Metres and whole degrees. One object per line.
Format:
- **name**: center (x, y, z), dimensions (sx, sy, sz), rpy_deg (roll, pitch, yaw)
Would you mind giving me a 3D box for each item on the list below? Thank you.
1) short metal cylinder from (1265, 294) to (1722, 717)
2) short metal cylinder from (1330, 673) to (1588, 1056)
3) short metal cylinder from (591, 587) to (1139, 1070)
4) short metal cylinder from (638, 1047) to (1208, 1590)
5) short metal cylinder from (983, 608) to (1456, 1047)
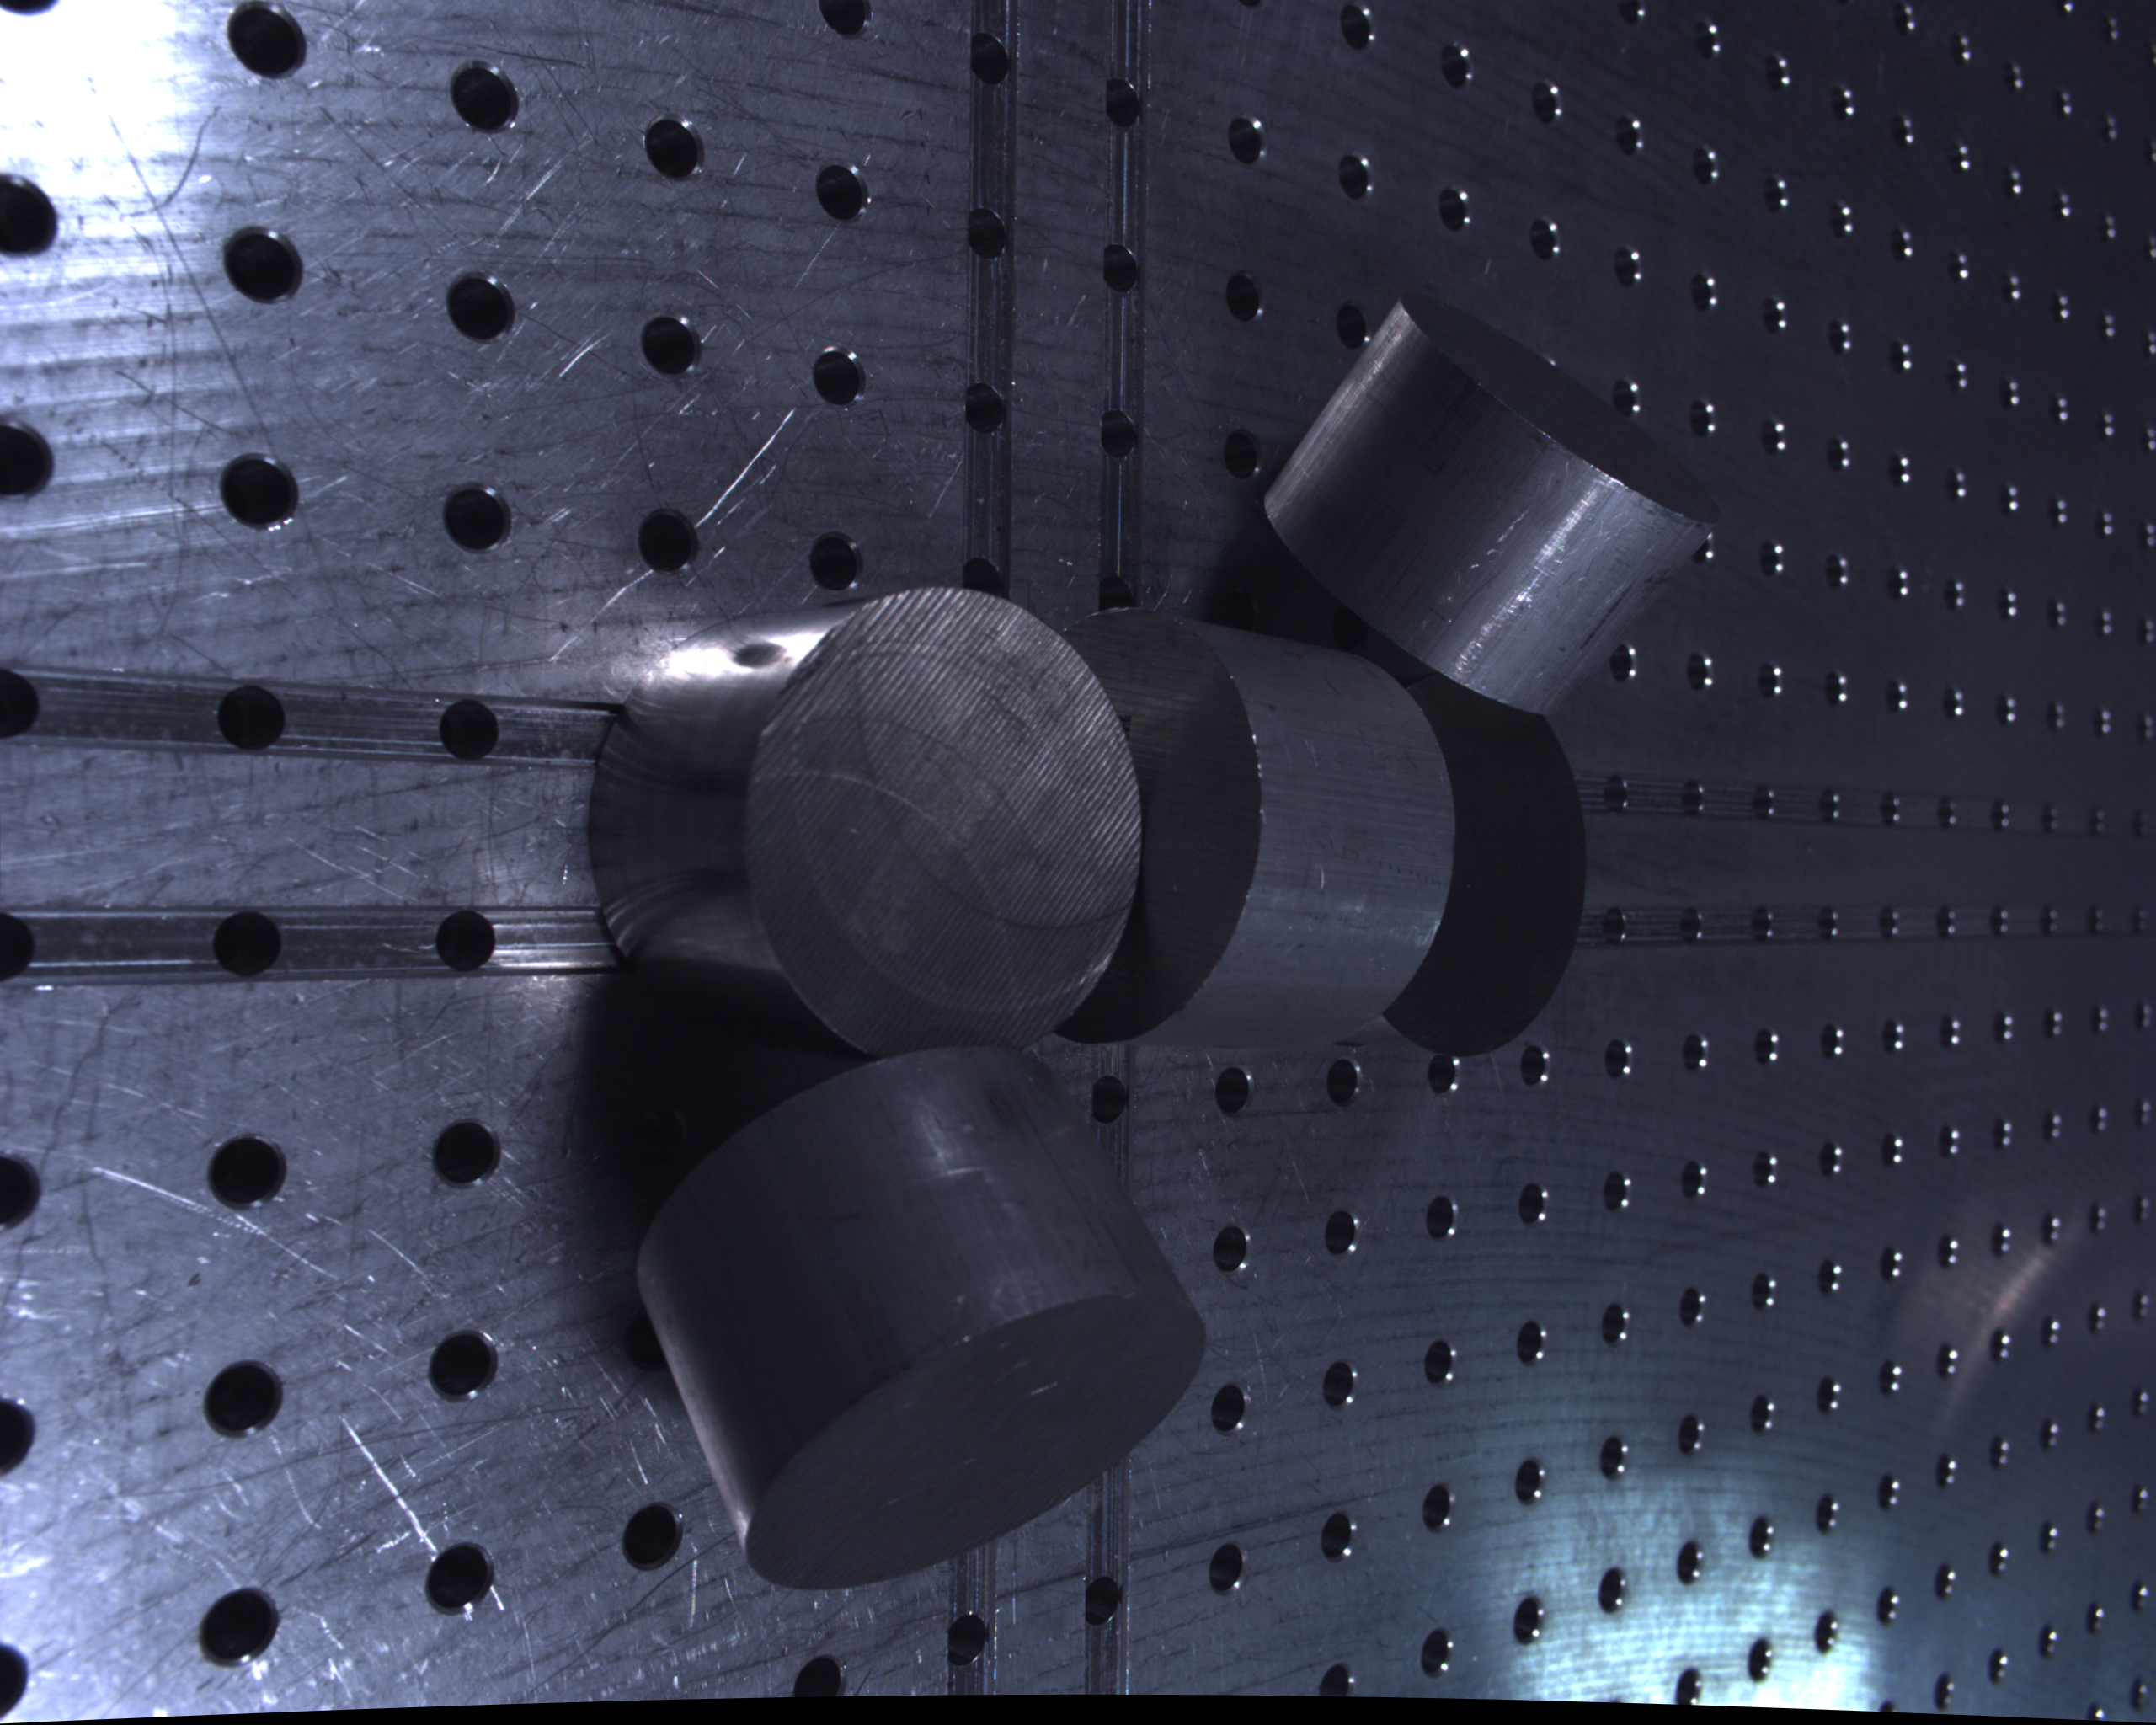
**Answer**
- **short metal cylinder**: center (0.087, -0.075, 0.440), dimensions (0.081, 0.080, 0.050), rpy_deg (11, 125, -40)
- **short metal cylinder**: center (0.064, 0.000, 0.448), dimensions (0.081, 0.050, 0.079), rpy_deg (0, 90, -40)
- **short metal cylinder**: center (-0.036, -0.006, 0.363), dimensions (0.081, 0.050, 0.079), rpy_deg (0, 90, -40)
- **short metal cylinder**: center (-0.026, 0.076, 0.346), dimensions (0.081, 0.050, 0.080), rpy_deg (-21, 144, -16)
- **short metal cylinder**: center (0.024, -0.005, 0.395), dimensions (0.050, 0.080, 0.080), rpy_deg (6, 86, -40)
